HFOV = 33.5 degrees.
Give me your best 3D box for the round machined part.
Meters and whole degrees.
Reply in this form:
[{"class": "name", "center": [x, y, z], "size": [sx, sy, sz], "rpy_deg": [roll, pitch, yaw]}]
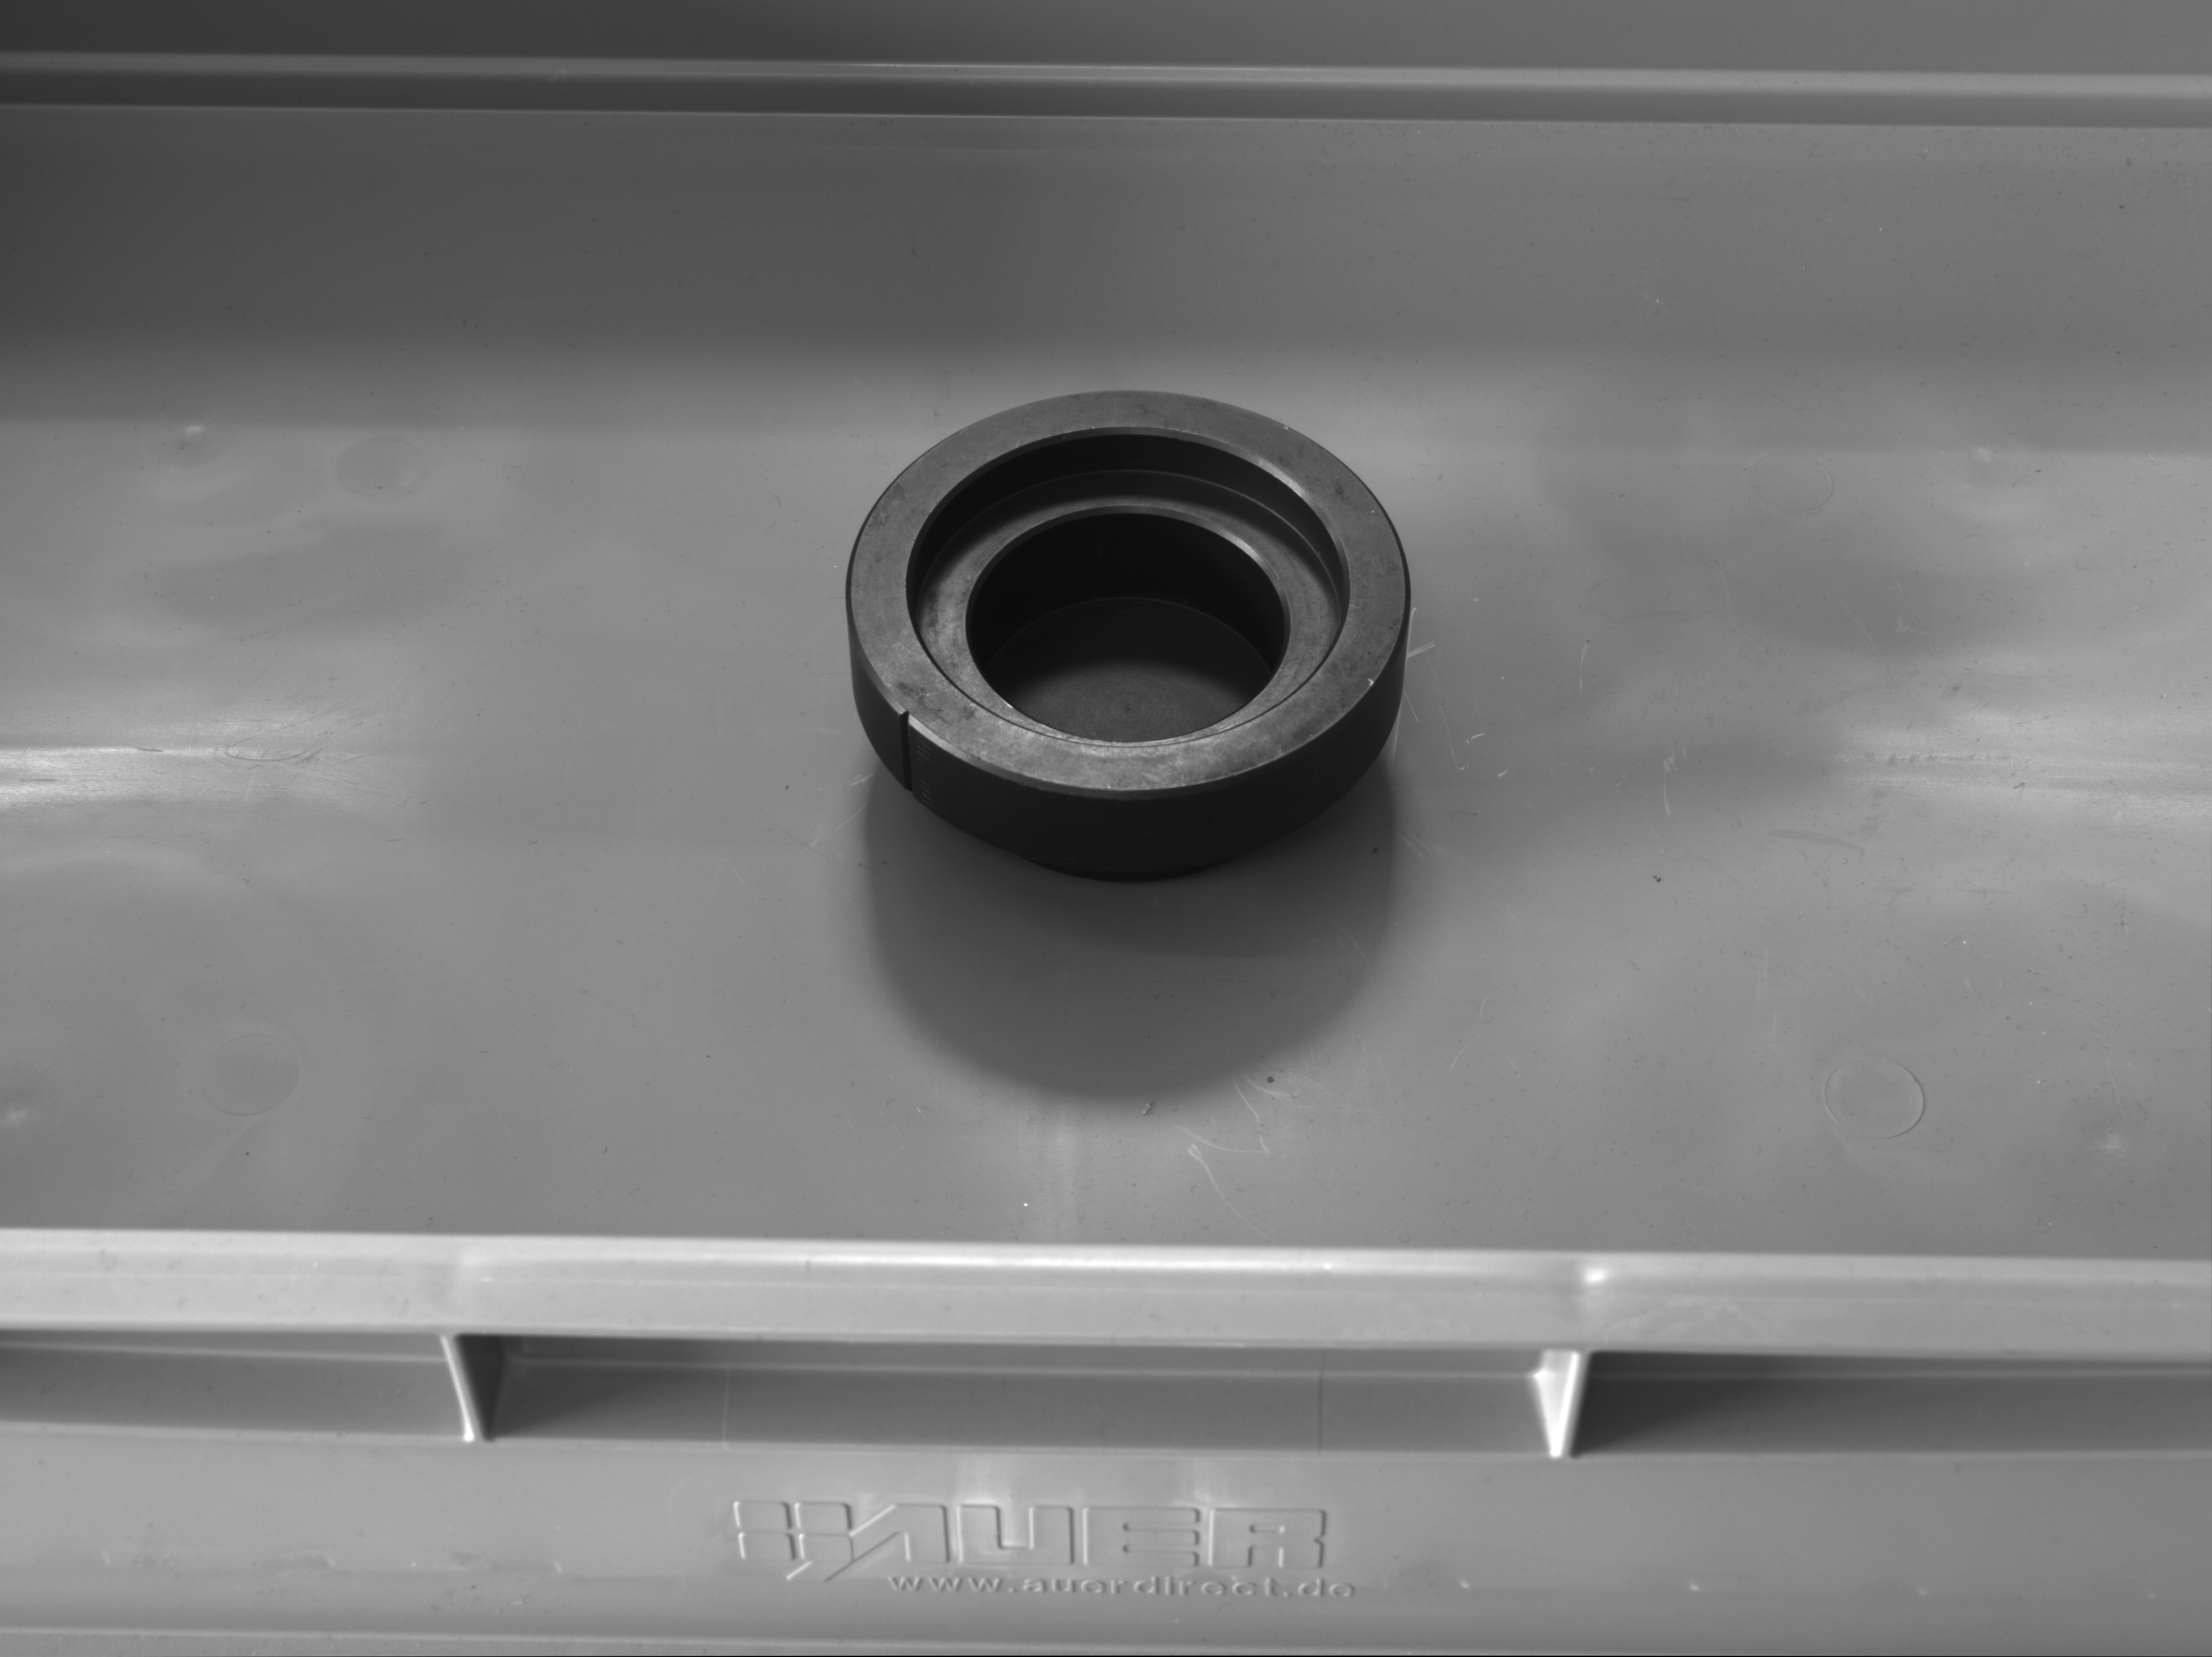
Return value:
[{"class": "round machined part", "center": [0.004, -0.029, 0.653], "size": [0.098, 0.042, 0.098], "rpy_deg": [0, 50, 0]}]
